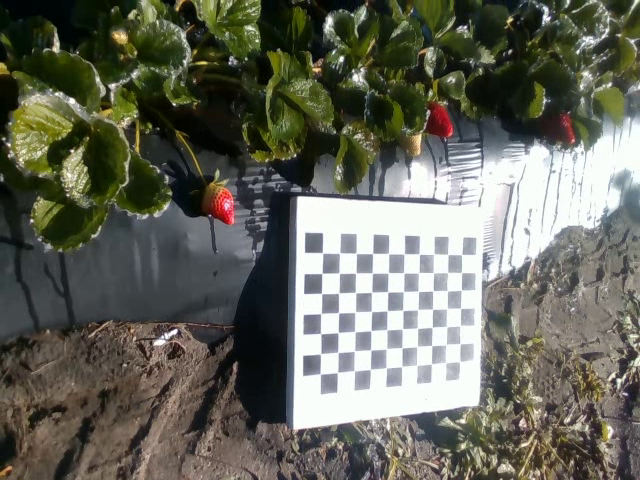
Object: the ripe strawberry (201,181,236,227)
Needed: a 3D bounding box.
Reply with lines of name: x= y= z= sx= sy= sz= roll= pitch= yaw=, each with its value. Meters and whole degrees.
ripe strawberry: x=-0.106 y=-0.037 z=0.652 sx=0.039 sy=0.053 sz=0.041 roll=-23 pitch=-5 yaw=-26
